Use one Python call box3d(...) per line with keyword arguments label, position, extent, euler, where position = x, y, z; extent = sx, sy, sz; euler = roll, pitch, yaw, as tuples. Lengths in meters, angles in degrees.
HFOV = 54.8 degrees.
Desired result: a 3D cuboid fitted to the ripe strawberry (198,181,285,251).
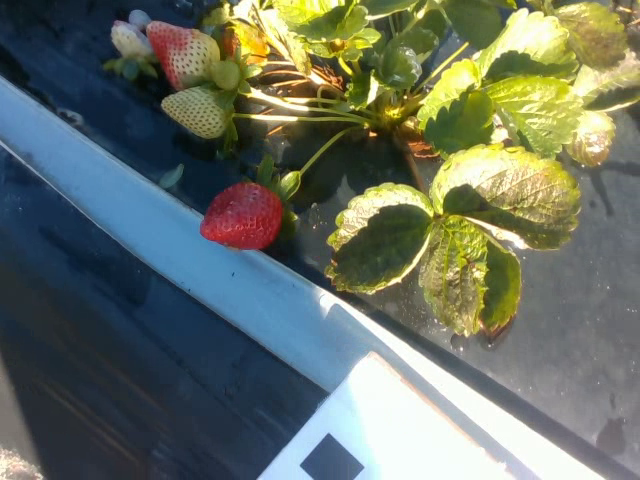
box3d(label="ripe strawberry", position=(-0.036, -0.009, 0.254), extent=(0.036, 0.038, 0.045), euler=(41, 26, 15))
